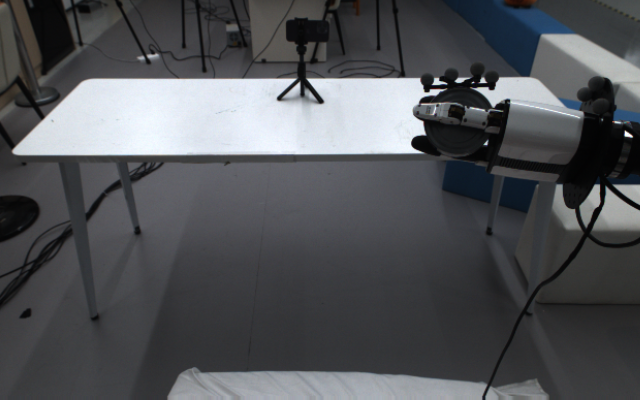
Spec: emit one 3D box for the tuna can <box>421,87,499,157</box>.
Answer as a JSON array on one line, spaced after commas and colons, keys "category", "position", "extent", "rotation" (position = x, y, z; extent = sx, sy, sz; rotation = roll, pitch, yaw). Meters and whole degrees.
[{"category": "tuna can", "position": [0.178, -0.100, 0.622], "extent": [0.085, 0.085, 0.034], "rotation": [13, -1, 16]}]
